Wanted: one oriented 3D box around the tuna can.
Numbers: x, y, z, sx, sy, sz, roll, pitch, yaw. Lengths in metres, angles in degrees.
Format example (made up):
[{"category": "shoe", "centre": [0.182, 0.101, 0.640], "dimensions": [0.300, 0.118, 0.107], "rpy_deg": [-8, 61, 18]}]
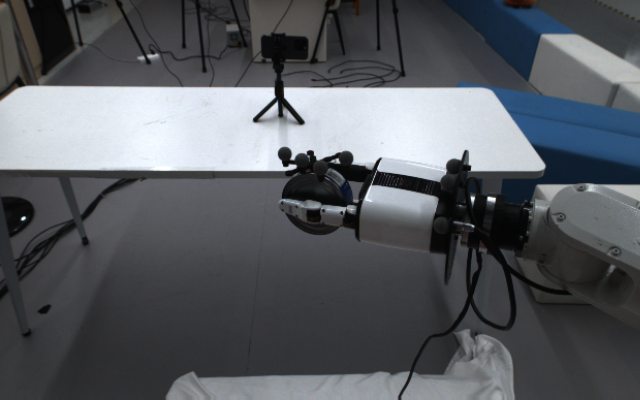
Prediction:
[{"category": "tuna can", "centre": [-0.001, -0.002, 0.611], "dimensions": [0.085, 0.085, 0.034], "rpy_deg": [14, 29, 16]}]
